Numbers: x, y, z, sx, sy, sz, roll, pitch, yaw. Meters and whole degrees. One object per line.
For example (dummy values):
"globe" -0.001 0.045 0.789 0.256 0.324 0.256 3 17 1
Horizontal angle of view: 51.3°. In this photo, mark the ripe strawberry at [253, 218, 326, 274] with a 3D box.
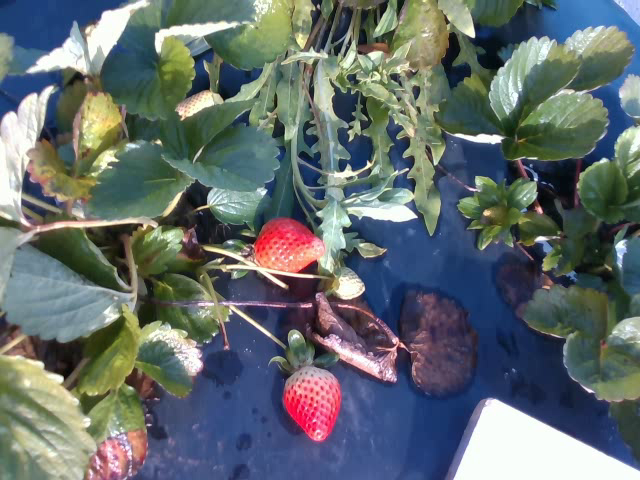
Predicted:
"ripe strawberry" -0.017 0.001 0.373 0.048 0.040 0.031 -3 -26 41

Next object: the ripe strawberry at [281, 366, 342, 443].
"ripe strawberry" -0.004 0.087 0.347 0.035 0.043 0.030 -8 -22 -6
